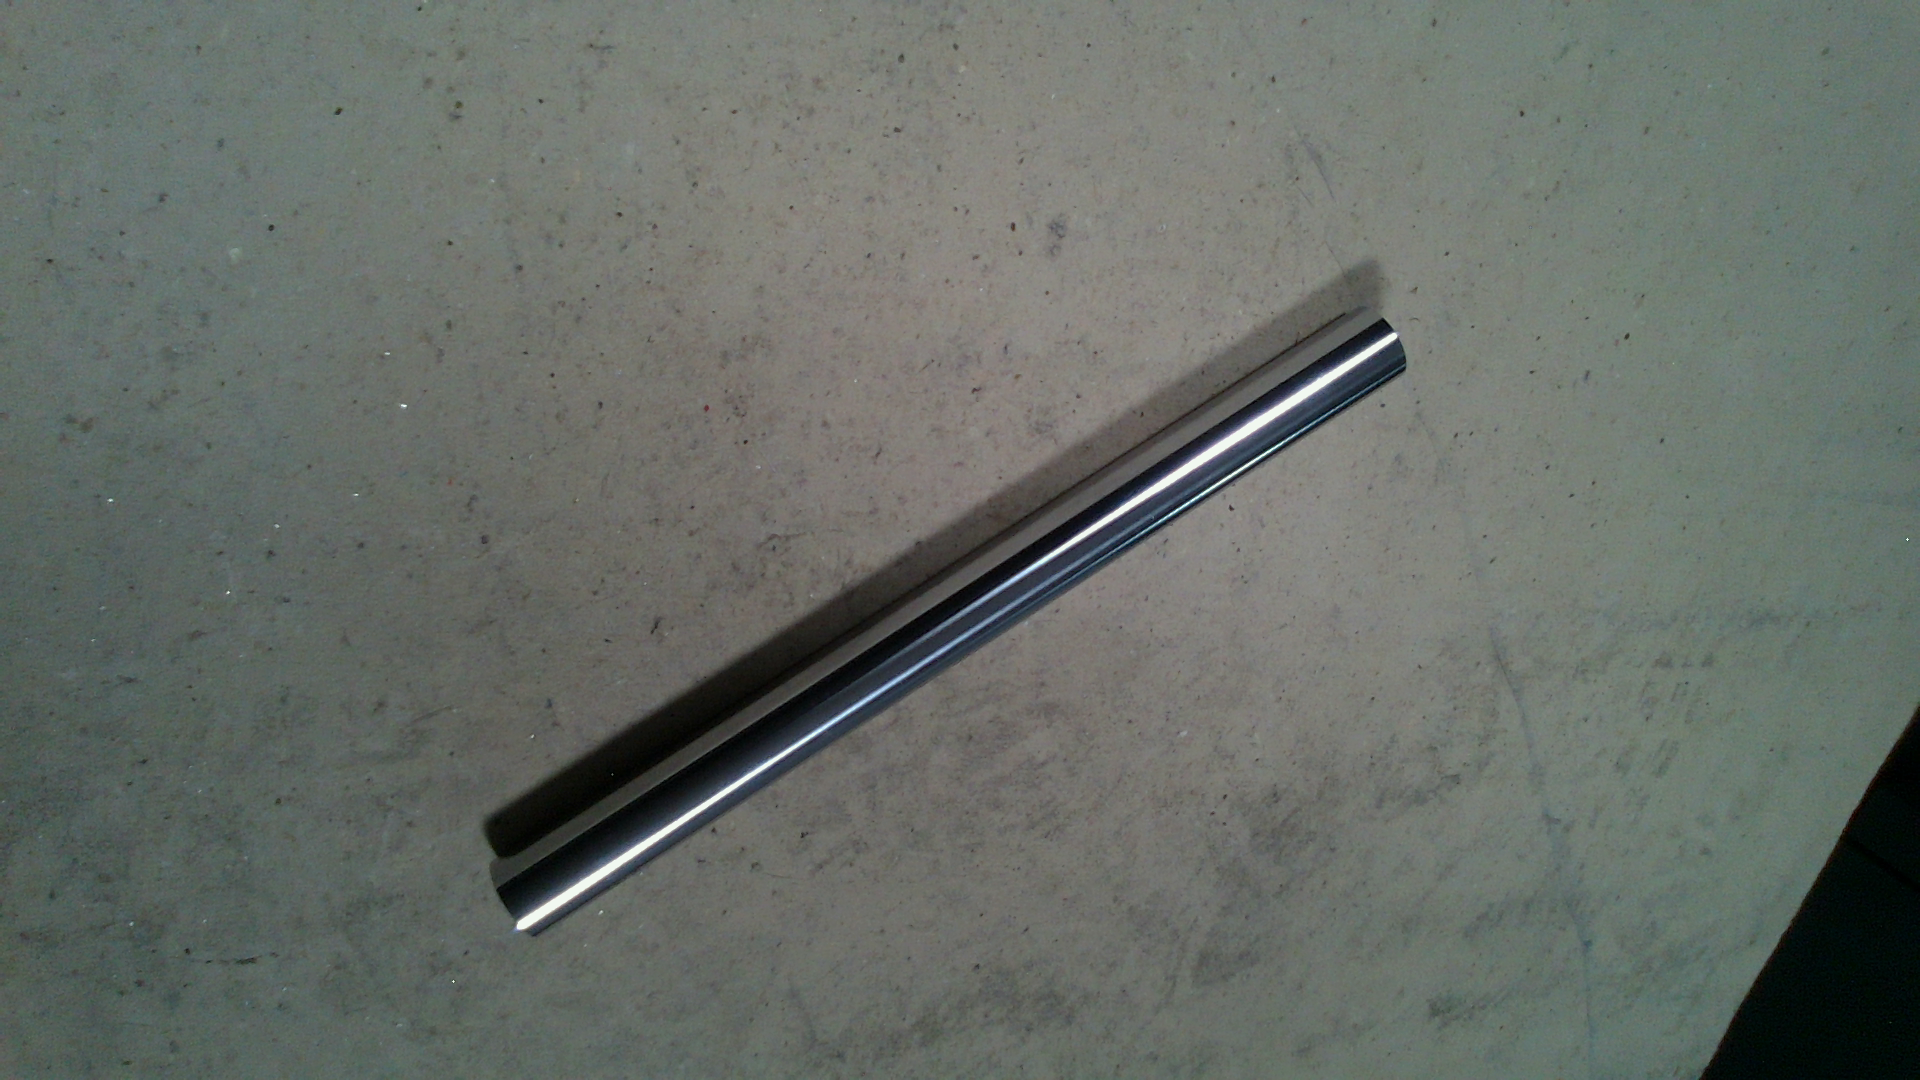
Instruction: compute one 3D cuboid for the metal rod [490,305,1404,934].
[{"bbox_3d":[0.002,0.019,0.402,0.300,0.025,0.025,-33,129,-7],"label":"metal rod"}]
